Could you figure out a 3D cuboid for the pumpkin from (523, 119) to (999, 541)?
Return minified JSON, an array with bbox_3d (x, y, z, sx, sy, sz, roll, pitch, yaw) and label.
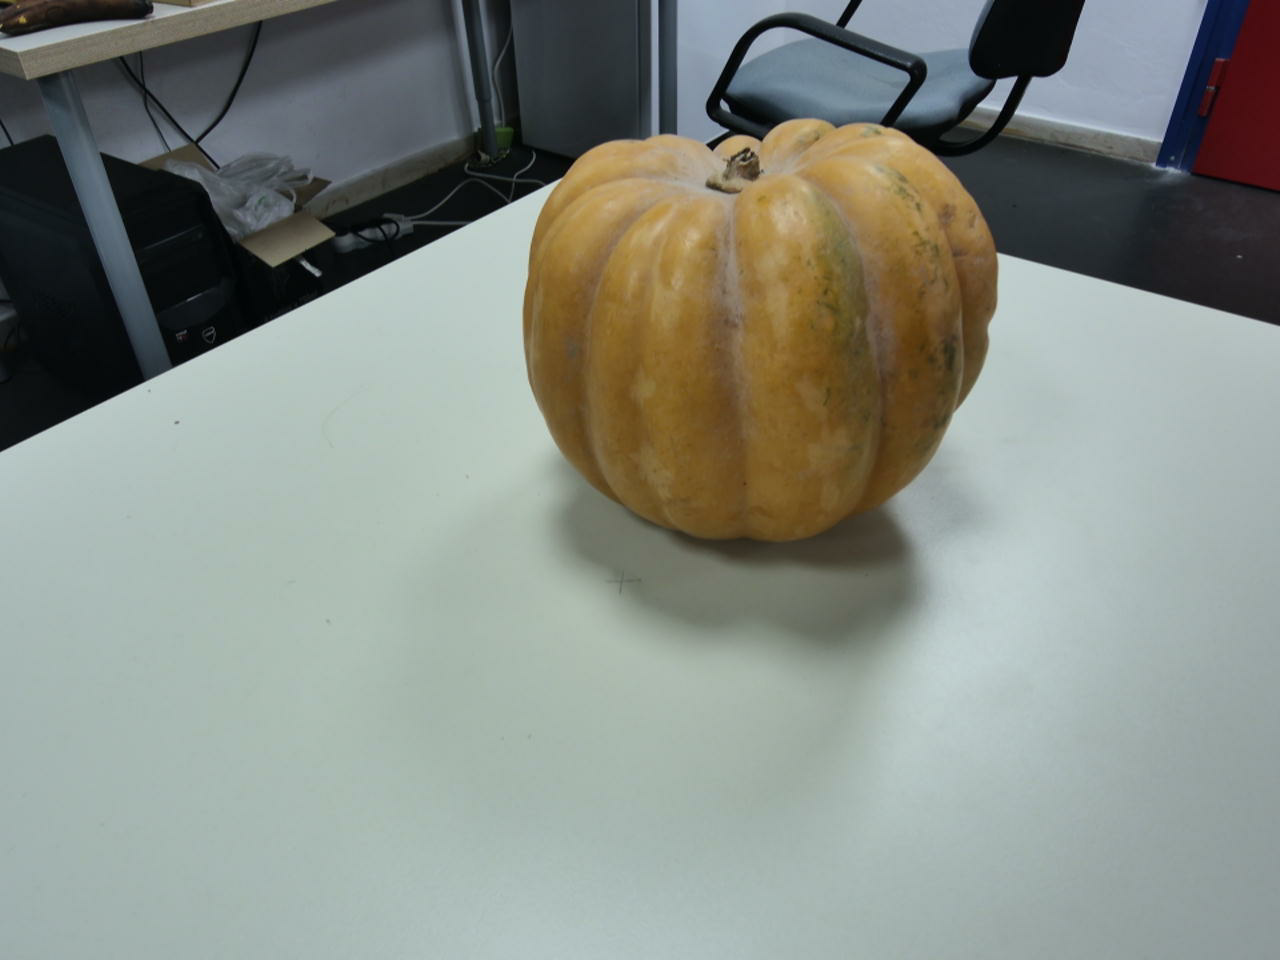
[{"bbox_3d":[0.055,-0.074,0.493,0.230,0.194,0.230,0,37,0],"label":"pumpkin"}]
